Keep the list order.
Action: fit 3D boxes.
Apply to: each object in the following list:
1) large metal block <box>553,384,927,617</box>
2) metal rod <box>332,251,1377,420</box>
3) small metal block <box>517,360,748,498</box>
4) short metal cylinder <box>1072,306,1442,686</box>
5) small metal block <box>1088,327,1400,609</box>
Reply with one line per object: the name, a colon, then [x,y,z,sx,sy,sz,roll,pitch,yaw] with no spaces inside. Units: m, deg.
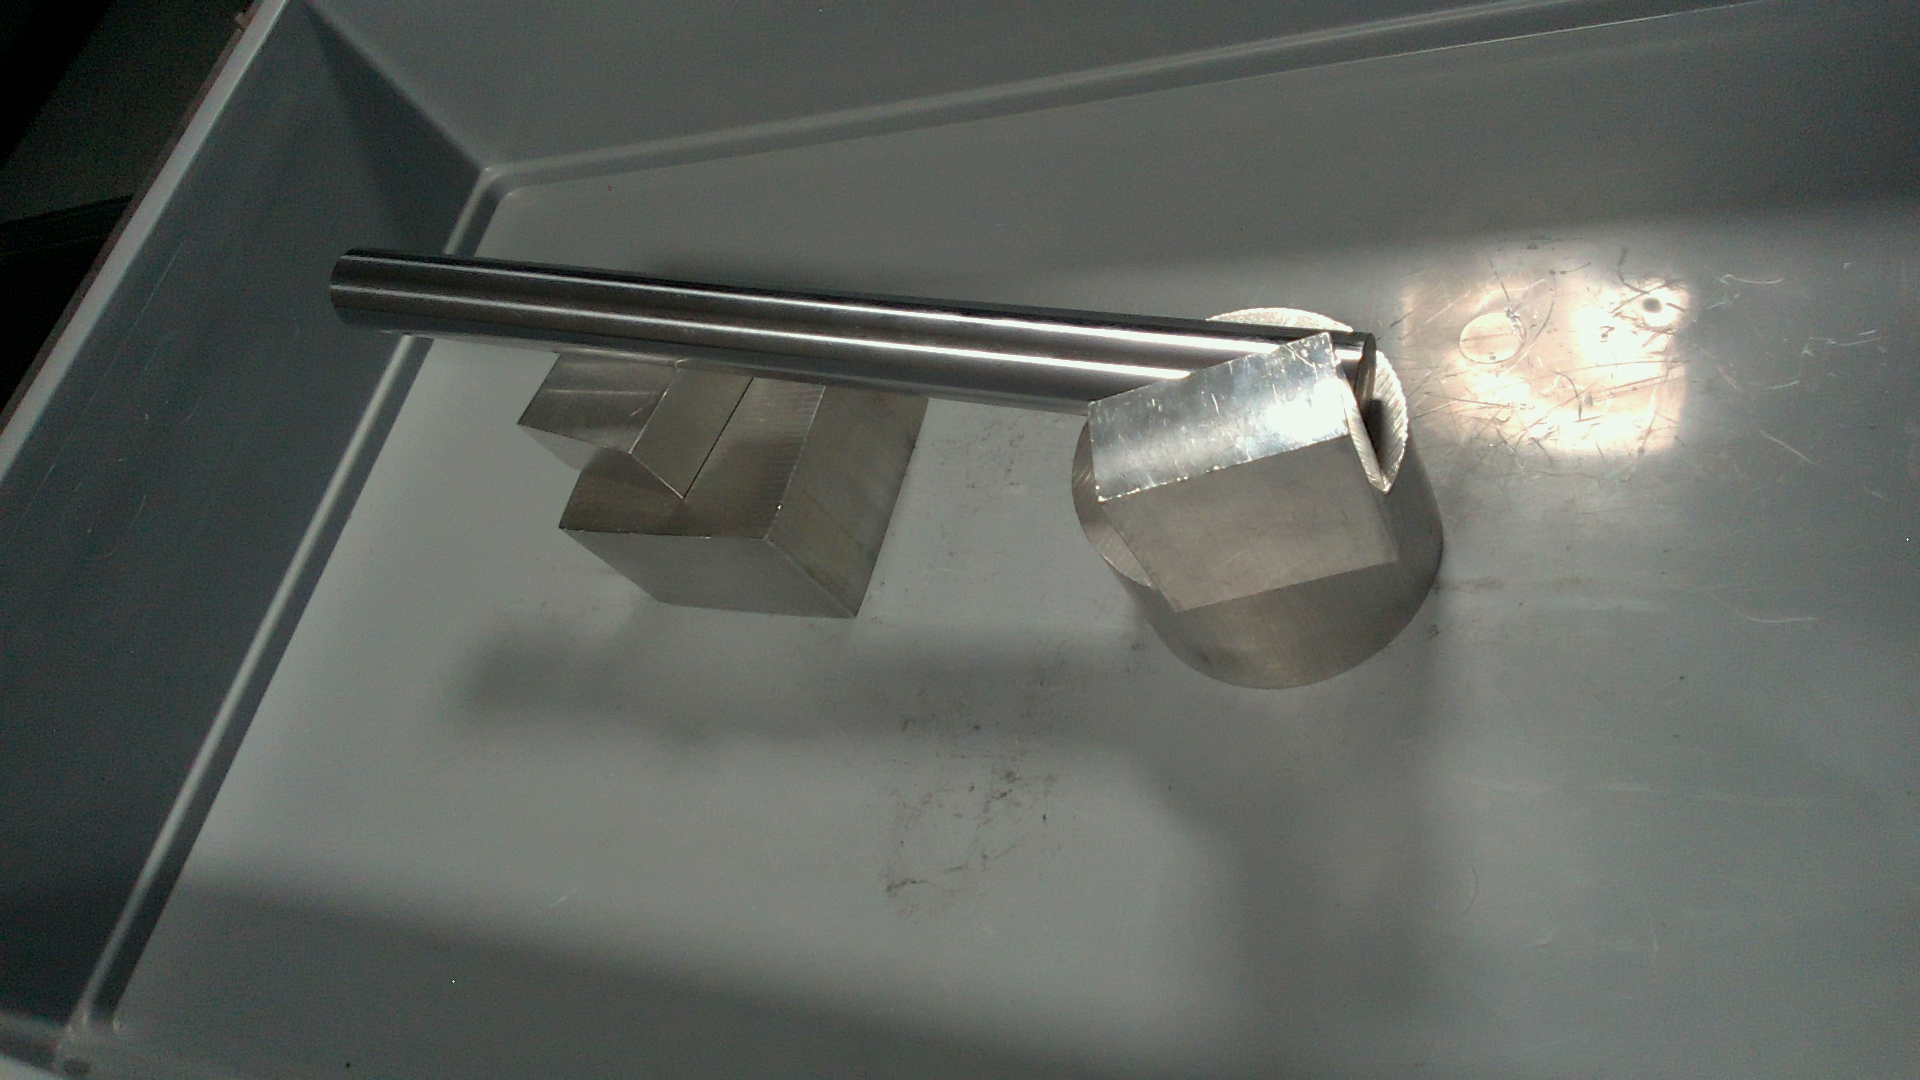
large metal block: [-0.066,-0.026,0.426,0.080,0.050,0.080,3,63,30]
metal rod: [-0.047,-0.054,0.360,0.299,0.025,0.025,9,66,24]
small metal block: [-0.094,-0.044,0.405,0.050,0.025,0.050,14,68,34]
short metal cylinder: [0.074,-0.010,0.342,0.080,0.050,0.080,-14,56,21]
small metal block: [0.059,-0.013,0.286,0.050,0.050,0.025,-14,56,21]
